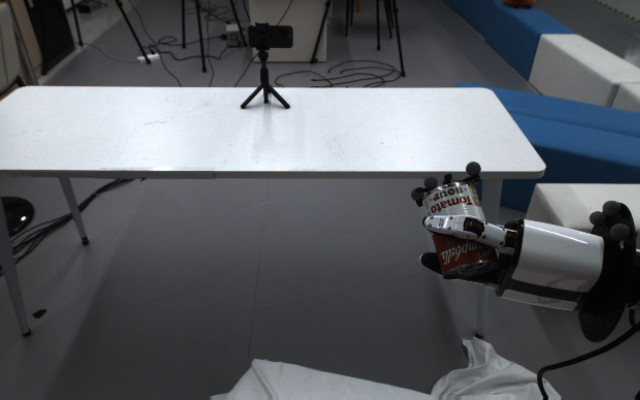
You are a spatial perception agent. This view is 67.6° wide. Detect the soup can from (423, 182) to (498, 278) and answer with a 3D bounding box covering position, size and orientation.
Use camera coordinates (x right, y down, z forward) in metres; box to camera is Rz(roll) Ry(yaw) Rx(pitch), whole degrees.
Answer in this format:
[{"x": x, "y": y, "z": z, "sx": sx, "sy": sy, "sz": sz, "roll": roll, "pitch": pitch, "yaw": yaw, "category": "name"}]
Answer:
[{"x": 0.170, "y": 0.037, "z": 0.587, "sx": 0.067, "sy": 0.067, "sz": 0.101, "roll": -6, "pitch": 68, "yaw": -12, "category": "soup can"}]
